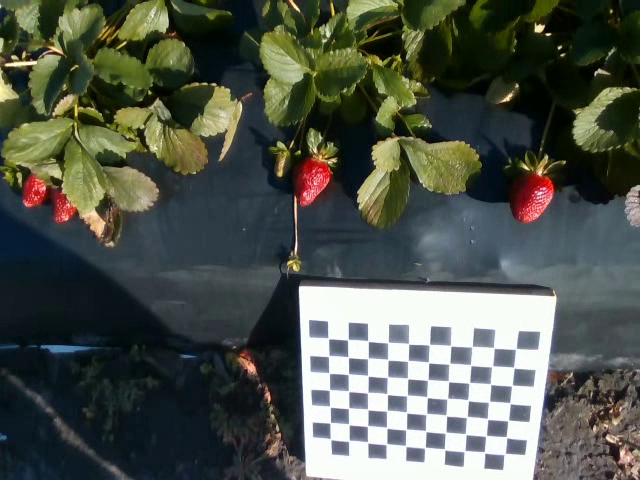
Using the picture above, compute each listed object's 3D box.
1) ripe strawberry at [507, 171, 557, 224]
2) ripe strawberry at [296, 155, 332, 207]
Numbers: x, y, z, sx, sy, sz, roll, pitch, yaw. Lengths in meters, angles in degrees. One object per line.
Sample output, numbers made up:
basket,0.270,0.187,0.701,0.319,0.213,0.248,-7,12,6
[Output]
ripe strawberry,0.192,-0.035,0.546,0.042,0.050,0.043,33,-25,-7
ripe strawberry,-0.010,-0.057,0.582,0.041,0.053,0.043,11,-21,1
